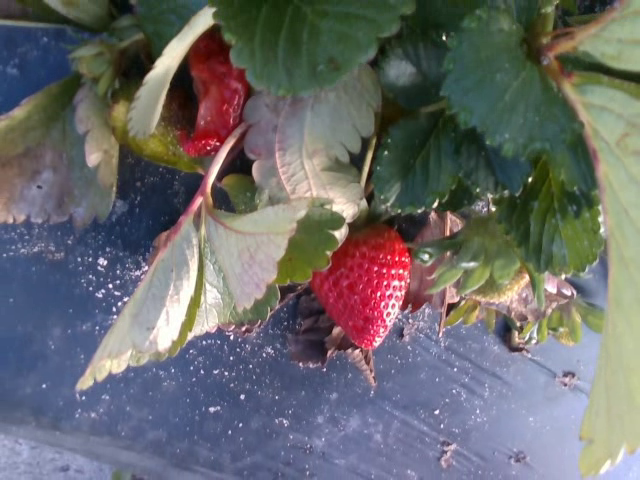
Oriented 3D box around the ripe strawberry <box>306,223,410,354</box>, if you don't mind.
[{"bbox_3d":[0.009,0.013,0.148,0.031,0.030,0.026,-6,6,3],"label":"ripe strawberry"}]
